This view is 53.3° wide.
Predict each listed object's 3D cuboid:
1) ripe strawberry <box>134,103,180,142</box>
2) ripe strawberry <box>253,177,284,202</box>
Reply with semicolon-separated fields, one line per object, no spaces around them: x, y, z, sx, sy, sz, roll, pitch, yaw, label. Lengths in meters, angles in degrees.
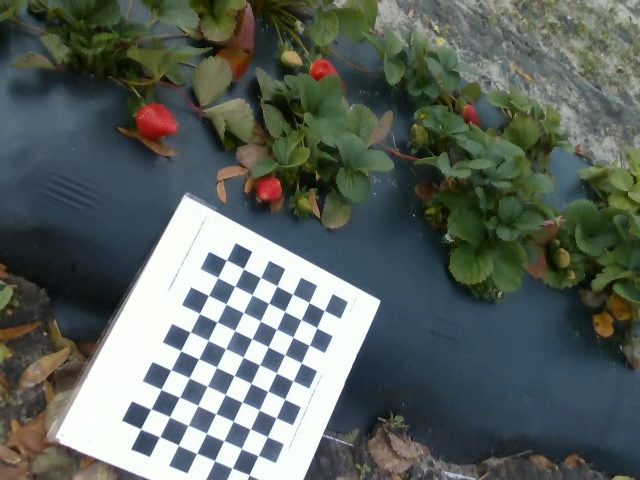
-0.188;-0.135;0.733;0.065;0.047;0.043;25;-12;33;ripe strawberry
-0.064;-0.058;0.780;0.037;0.040;0.042;-42;18;26;ripe strawberry
